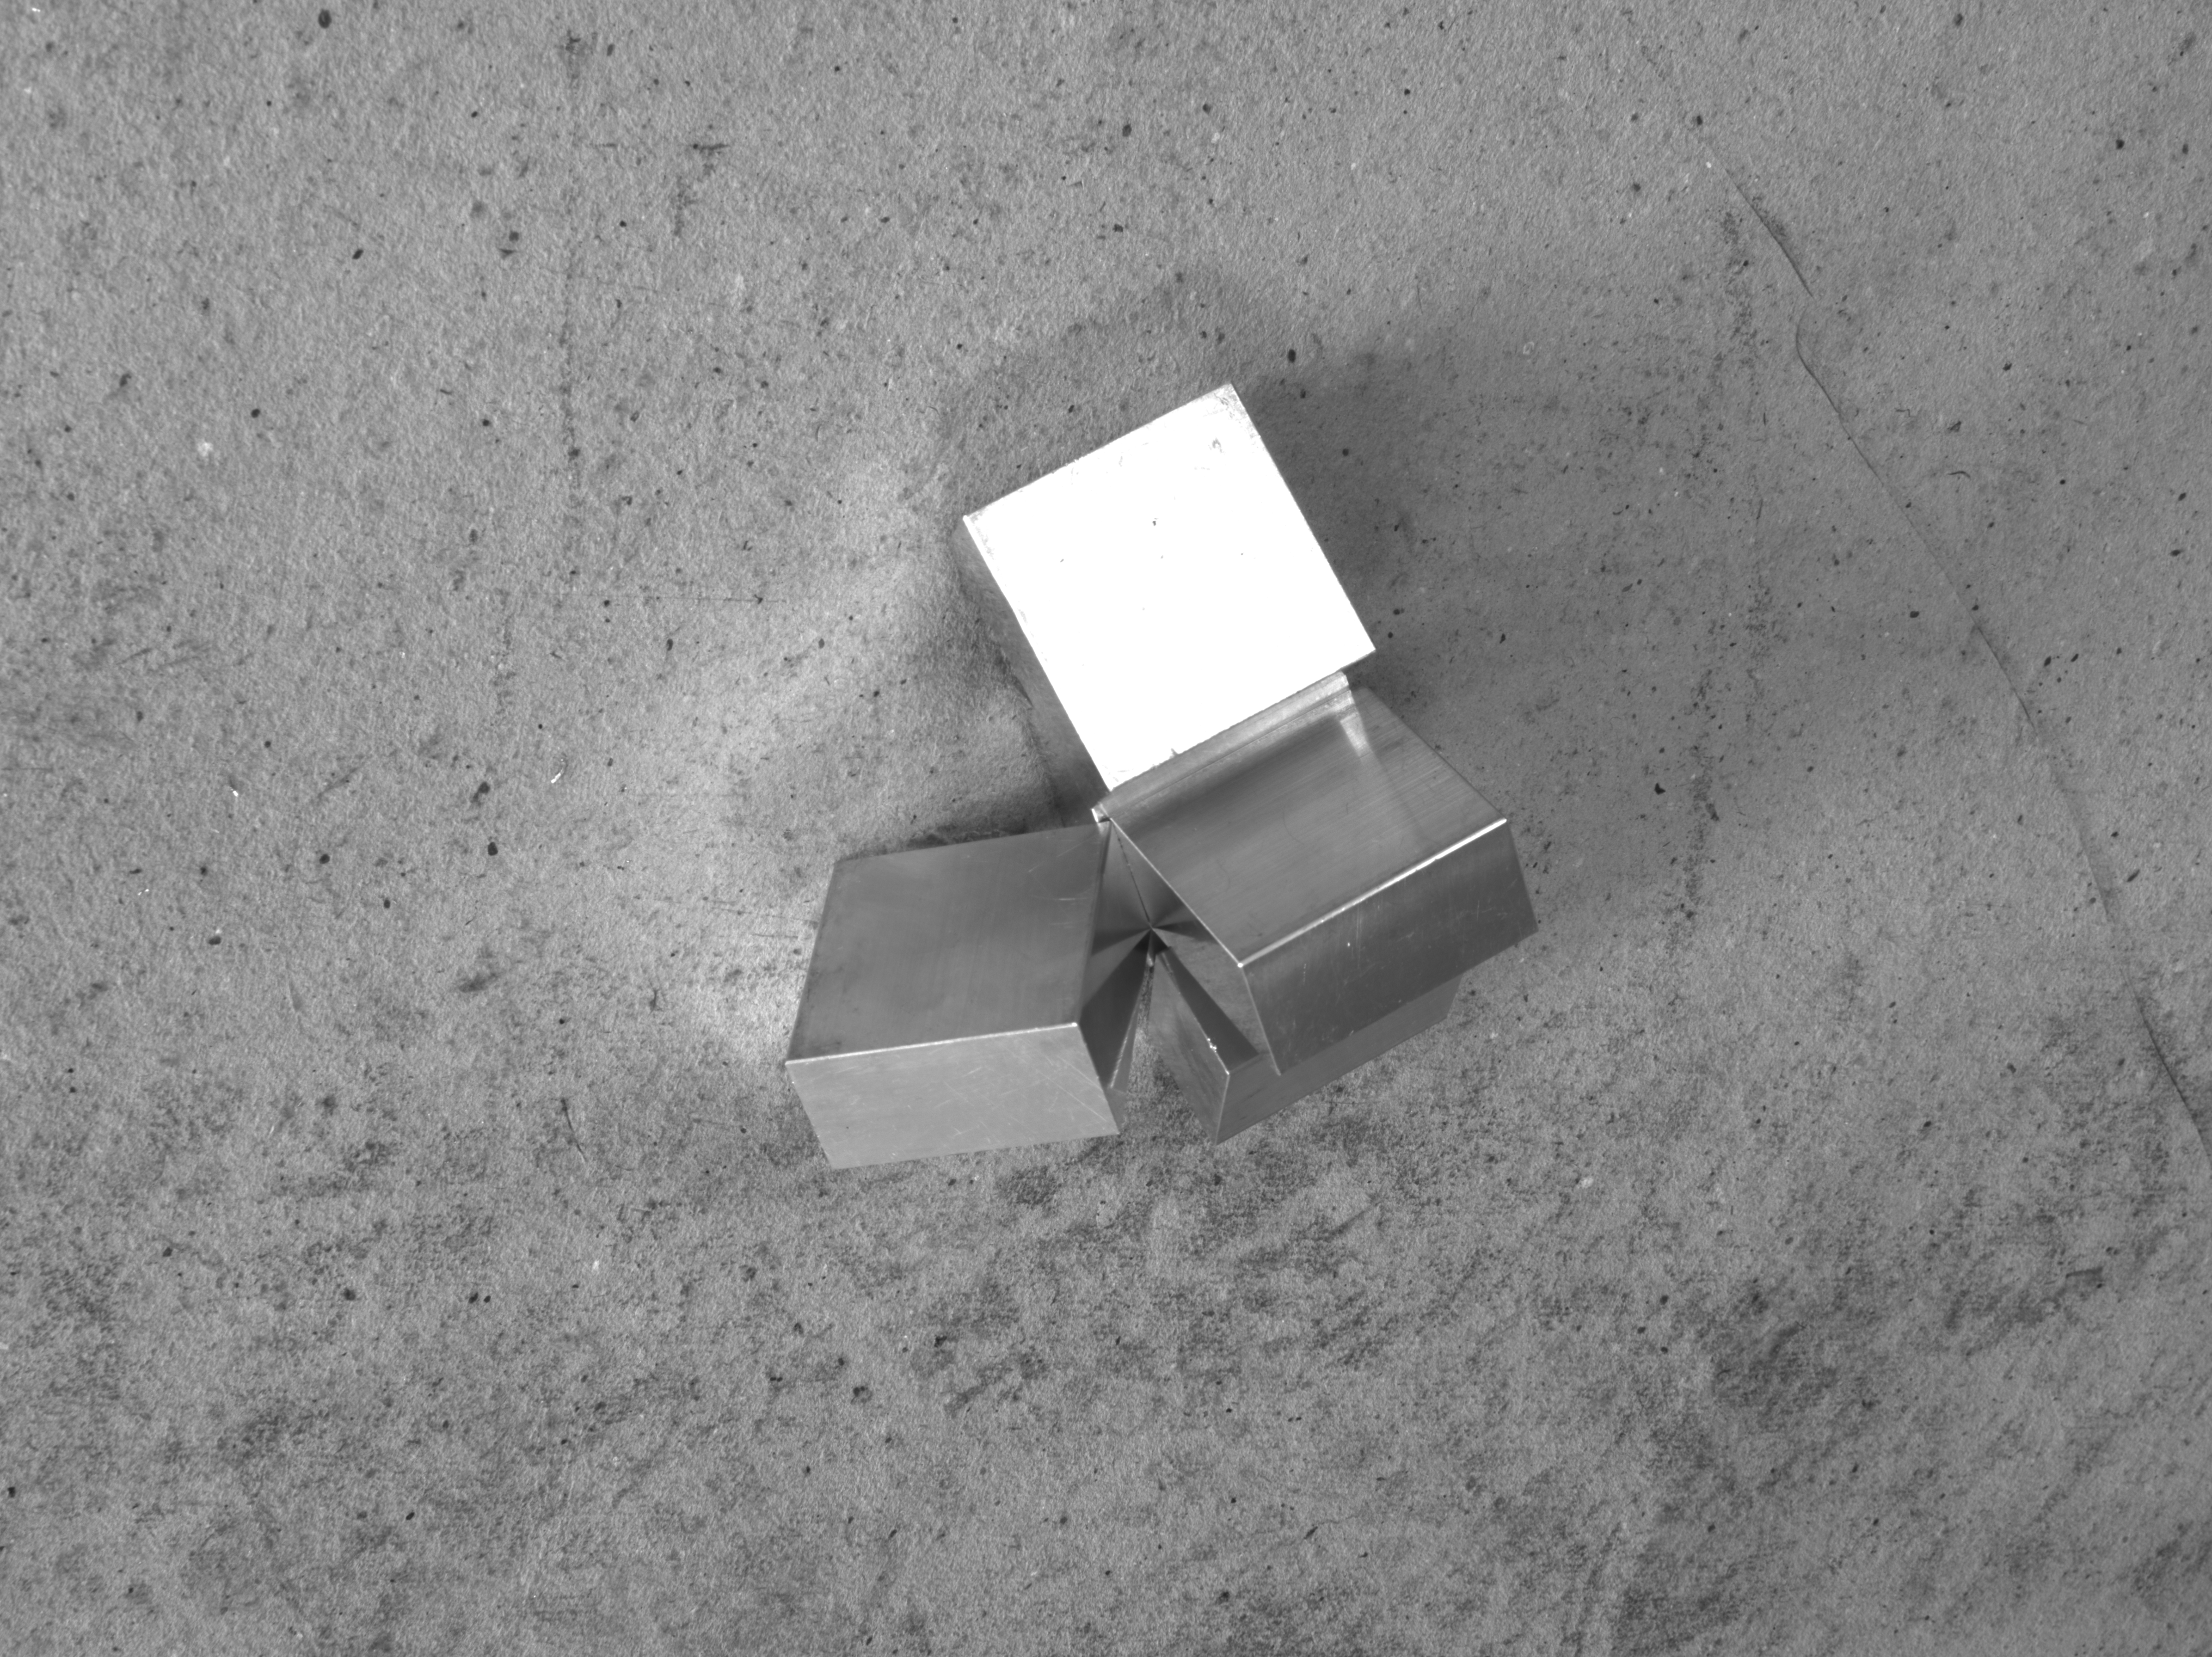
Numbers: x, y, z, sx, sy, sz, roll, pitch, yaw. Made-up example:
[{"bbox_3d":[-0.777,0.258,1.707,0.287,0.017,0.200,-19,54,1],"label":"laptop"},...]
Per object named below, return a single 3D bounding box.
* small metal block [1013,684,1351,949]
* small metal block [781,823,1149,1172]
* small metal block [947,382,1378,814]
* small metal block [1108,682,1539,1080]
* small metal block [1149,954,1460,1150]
[{"bbox_3d":[0.017,-0.012,0.640,0.050,0.025,0.050,-27,127,-9],"label":"small metal block"},{"bbox_3d":[-0.022,0.028,0.615,0.050,0.050,0.025,-8,129,15],"label":"small metal block"},{"bbox_3d":[0.009,-0.037,0.604,0.050,0.025,0.050,-28,88,-10],"label":"small metal block"},{"bbox_3d":[0.036,0.008,0.614,0.050,0.050,0.025,-28,128,-10],"label":"small metal block"},{"bbox_3d":[0.036,0.029,0.659,0.050,0.025,0.050,-28,164,-10],"label":"small metal block"}]
